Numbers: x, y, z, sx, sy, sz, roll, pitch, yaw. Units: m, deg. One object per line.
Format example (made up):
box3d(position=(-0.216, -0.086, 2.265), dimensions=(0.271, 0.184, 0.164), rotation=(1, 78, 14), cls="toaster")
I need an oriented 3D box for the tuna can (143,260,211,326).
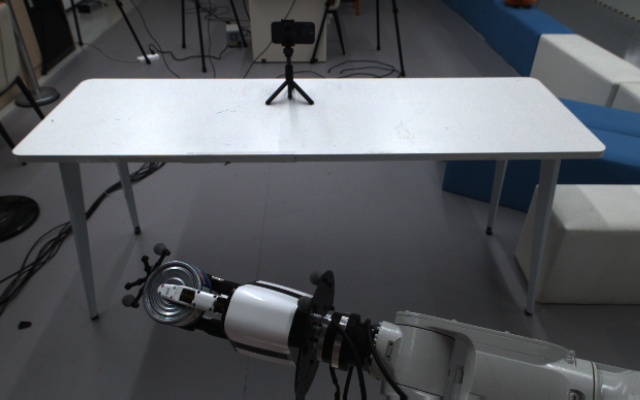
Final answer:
box3d(position=(-0.189, 0.125, 0.649), dimensions=(0.085, 0.034, 0.085), rotation=(-3, 70, 9), cls="tuna can")
